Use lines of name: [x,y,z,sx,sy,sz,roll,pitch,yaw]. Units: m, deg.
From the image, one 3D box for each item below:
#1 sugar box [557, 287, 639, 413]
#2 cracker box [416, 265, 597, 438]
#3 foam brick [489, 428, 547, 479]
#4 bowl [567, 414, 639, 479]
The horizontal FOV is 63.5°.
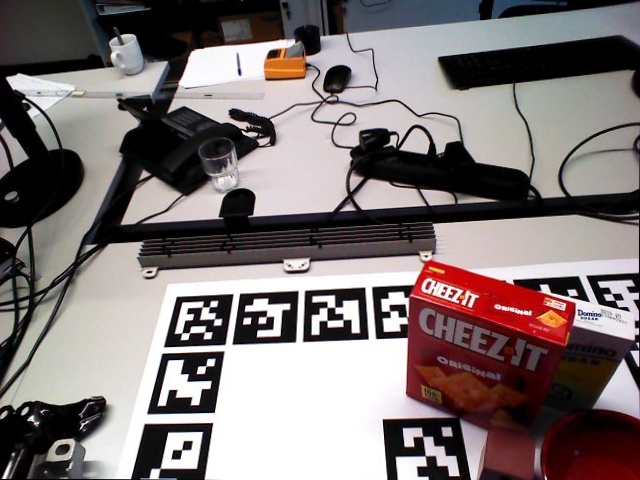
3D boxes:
sugar box: [0.316,0.136,0.619,0.093,0.177,0.045,12,49,21]
cracker box: [0.203,0.140,0.610,0.165,0.214,0.071,20,50,26]
foam brick: [0.224,0.261,0.589,0.053,0.078,0.051,7,47,18]
bowl: [0.345,0.273,0.550,0.162,0.055,0.160,-5,46,5]
